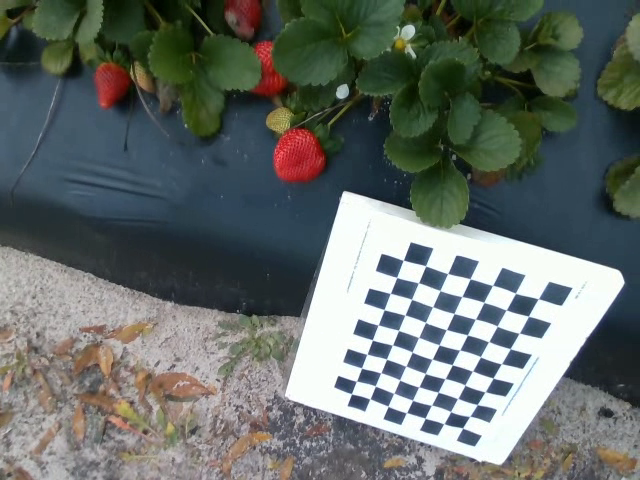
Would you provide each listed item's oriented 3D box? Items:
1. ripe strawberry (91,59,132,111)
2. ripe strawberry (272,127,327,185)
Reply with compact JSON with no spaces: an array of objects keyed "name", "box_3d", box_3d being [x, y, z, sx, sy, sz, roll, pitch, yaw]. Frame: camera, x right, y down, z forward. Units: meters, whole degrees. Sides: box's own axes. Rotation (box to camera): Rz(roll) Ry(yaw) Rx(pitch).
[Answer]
[{"name":"ripe strawberry","box_3d":[-0.211,-0.155,0.607,0.043,0.052,0.041,3,-13,16]},{"name":"ripe strawberry","box_3d":[-0.027,-0.080,0.600,0.057,0.056,0.065,-8,33,38]}]
